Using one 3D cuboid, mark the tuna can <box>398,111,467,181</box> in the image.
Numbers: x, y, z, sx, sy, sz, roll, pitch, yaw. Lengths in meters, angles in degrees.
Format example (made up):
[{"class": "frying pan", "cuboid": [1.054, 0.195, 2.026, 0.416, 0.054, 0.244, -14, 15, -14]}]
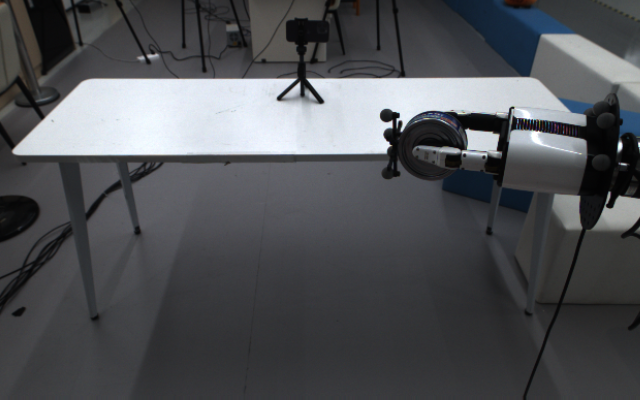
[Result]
[{"class": "tuna can", "cuboid": [0.145, -0.074, 0.626, 0.085, 0.085, 0.034, 12, 27, 14]}]
